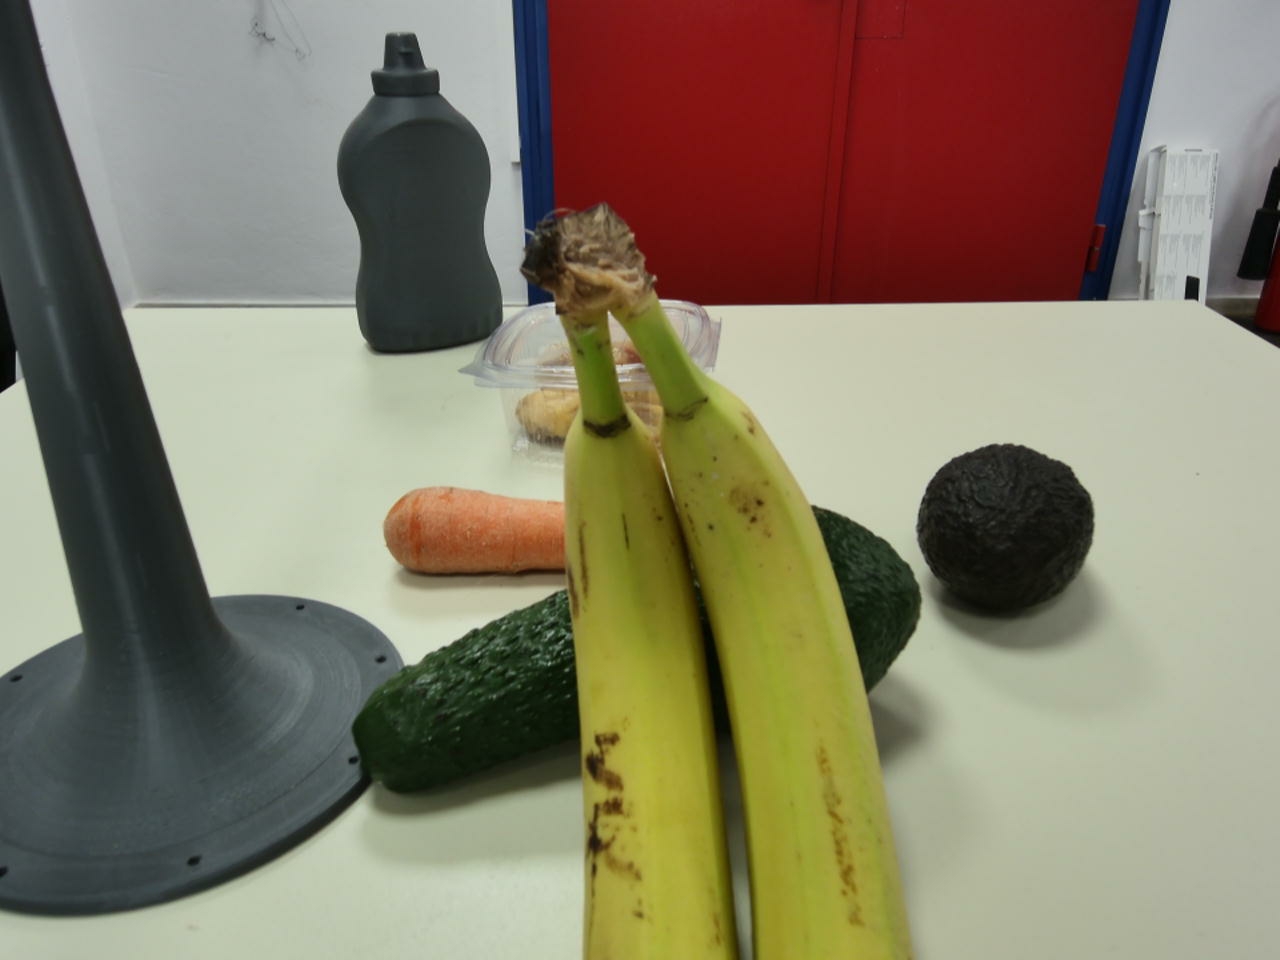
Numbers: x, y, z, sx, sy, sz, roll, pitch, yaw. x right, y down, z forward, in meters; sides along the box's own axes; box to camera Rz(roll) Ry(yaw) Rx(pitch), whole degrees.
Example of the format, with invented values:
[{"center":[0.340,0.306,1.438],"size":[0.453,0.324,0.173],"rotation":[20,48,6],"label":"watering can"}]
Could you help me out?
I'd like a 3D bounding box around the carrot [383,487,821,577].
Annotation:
[{"center":[-0.016,0.023,0.448],"size":[0.196,0.041,0.039],"rotation":[0,25,0],"label":"carrot"}]
